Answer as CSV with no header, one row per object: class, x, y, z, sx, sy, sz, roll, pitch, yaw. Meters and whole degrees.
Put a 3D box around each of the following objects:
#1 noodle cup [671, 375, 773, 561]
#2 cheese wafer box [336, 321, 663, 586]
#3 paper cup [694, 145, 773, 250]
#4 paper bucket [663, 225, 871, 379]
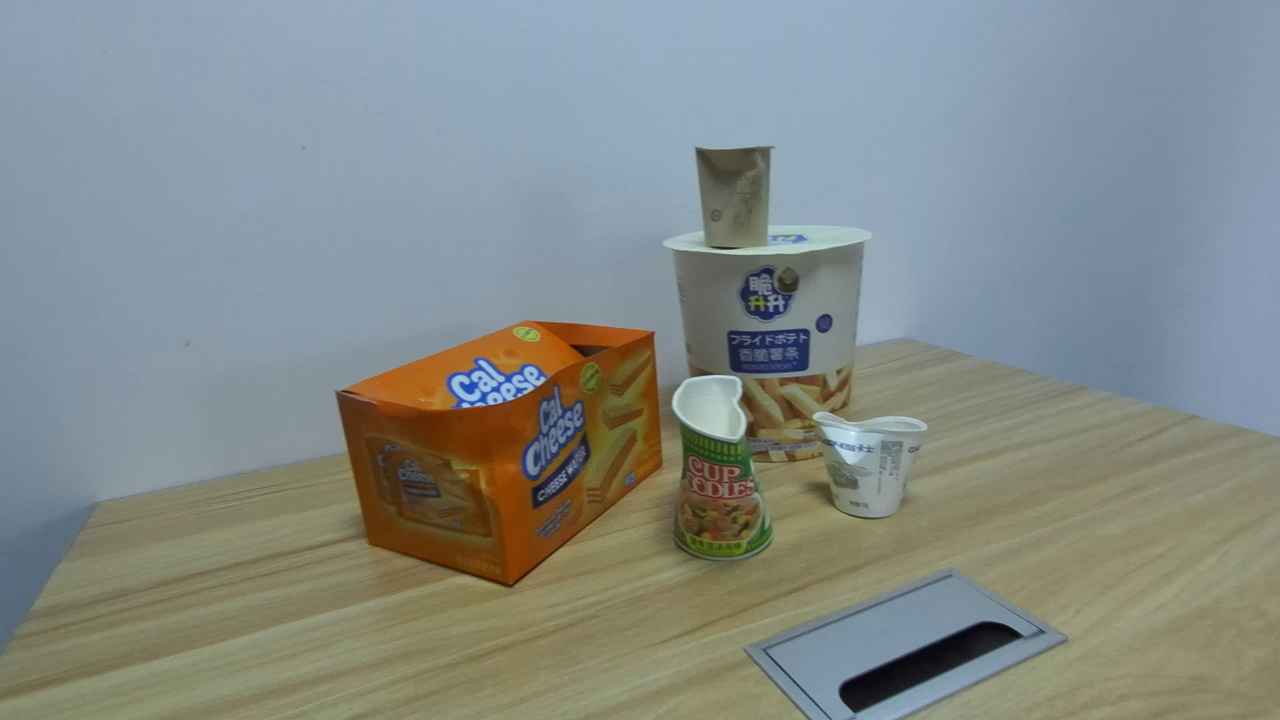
noodle cup,0.056,0.075,0.499,0.070,0.111,0.115,4,20,24
cheese wafer box,-0.097,0.060,0.573,0.151,0.132,0.231,7,18,29
paper cup,0.086,-0.140,0.604,0.066,0.084,0.072,7,15,35
paper bucket,0.121,-0.020,0.675,0.198,0.194,0.198,-3,16,1
